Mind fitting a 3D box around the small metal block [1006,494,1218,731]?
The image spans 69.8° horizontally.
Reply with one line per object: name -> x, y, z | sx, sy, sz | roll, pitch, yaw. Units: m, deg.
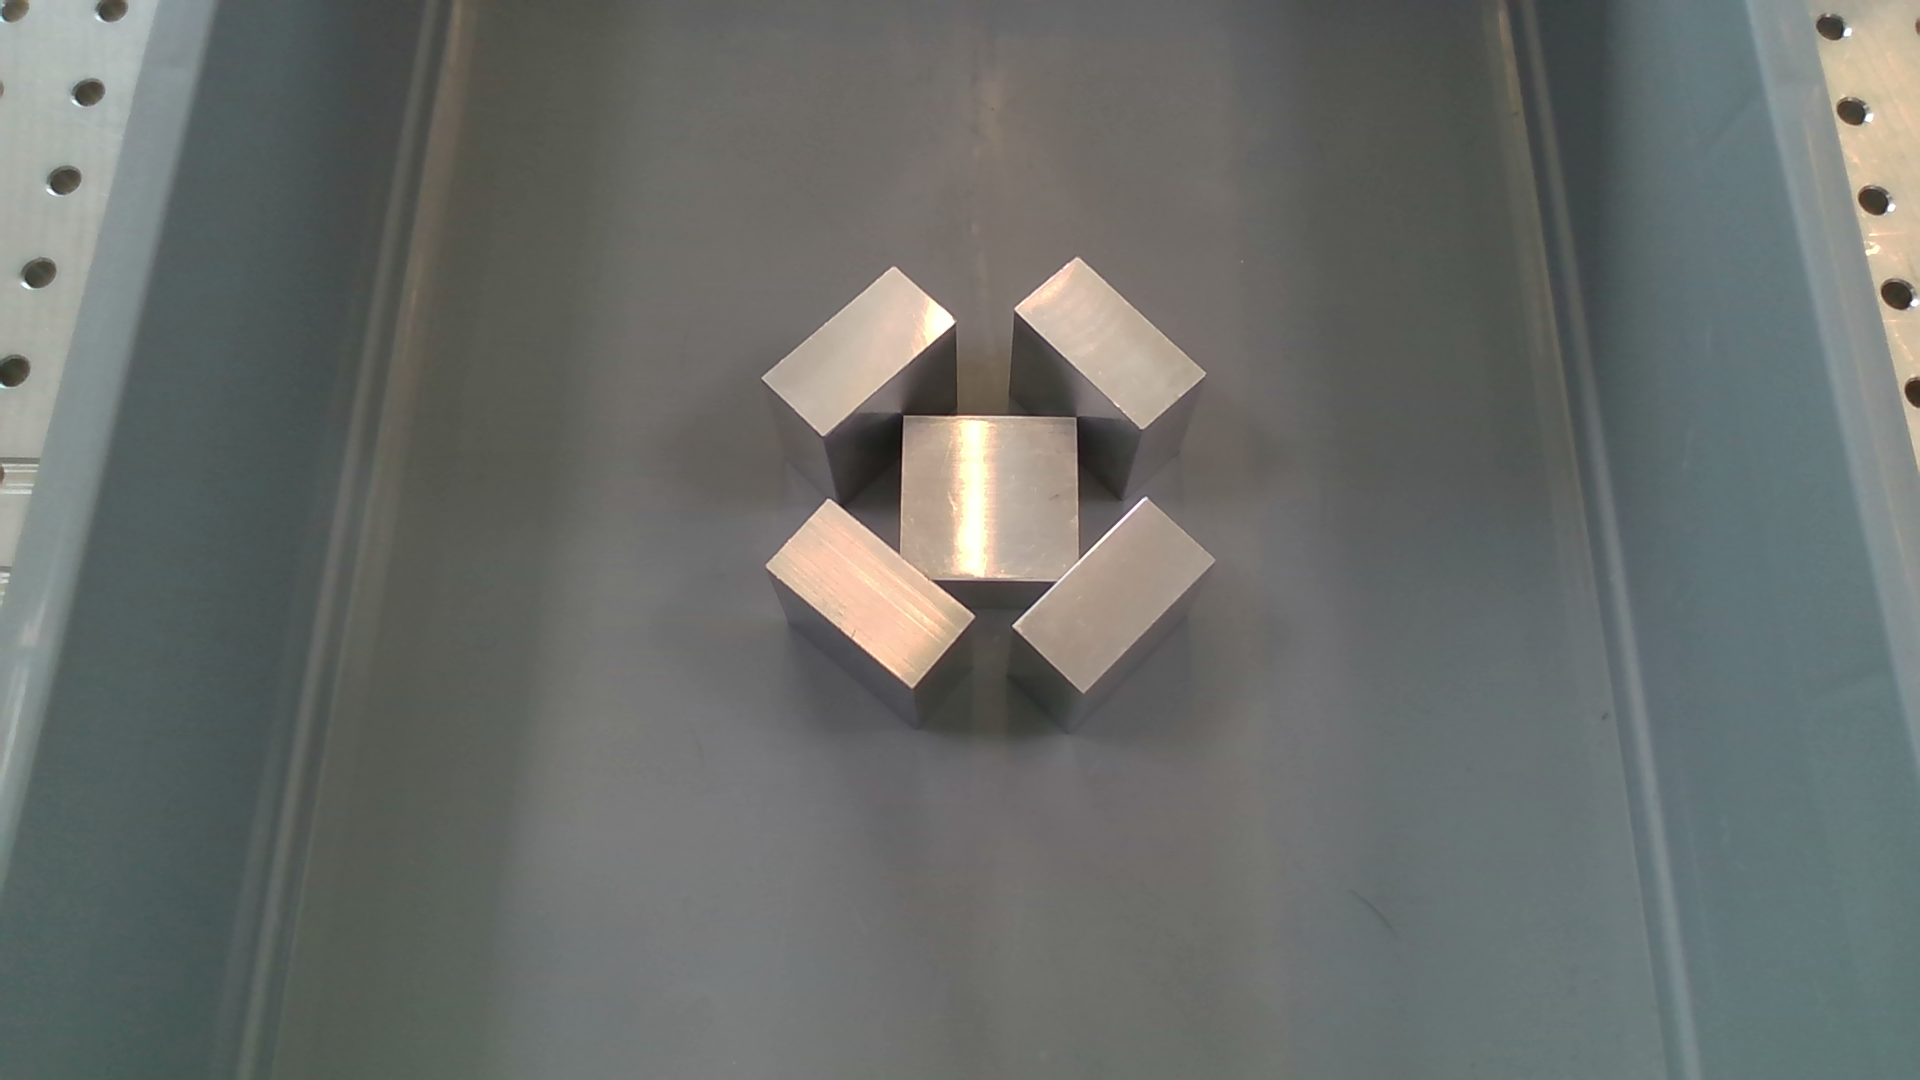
small metal block -> 0.040, 0.021, 0.373 | 0.050, 0.050, 0.025 | -43, 77, -13

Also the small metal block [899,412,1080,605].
small metal block -> 0.008, -0.009, 0.397 | 0.050, 0.025, 0.050 | 1, 70, 0

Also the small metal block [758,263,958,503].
small metal block -> -0.028, -0.043, 0.396 | 0.050, 0.050, 0.025 | -43, 75, -14

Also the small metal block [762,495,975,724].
small metal block -> -0.023, 0.021, 0.373 | 0.050, 0.050, 0.025 | 38, 76, 12

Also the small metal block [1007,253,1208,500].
small metal block -> 0.041, -0.046, 0.397 | 0.025, 0.050, 0.050 | -40, 74, -14
